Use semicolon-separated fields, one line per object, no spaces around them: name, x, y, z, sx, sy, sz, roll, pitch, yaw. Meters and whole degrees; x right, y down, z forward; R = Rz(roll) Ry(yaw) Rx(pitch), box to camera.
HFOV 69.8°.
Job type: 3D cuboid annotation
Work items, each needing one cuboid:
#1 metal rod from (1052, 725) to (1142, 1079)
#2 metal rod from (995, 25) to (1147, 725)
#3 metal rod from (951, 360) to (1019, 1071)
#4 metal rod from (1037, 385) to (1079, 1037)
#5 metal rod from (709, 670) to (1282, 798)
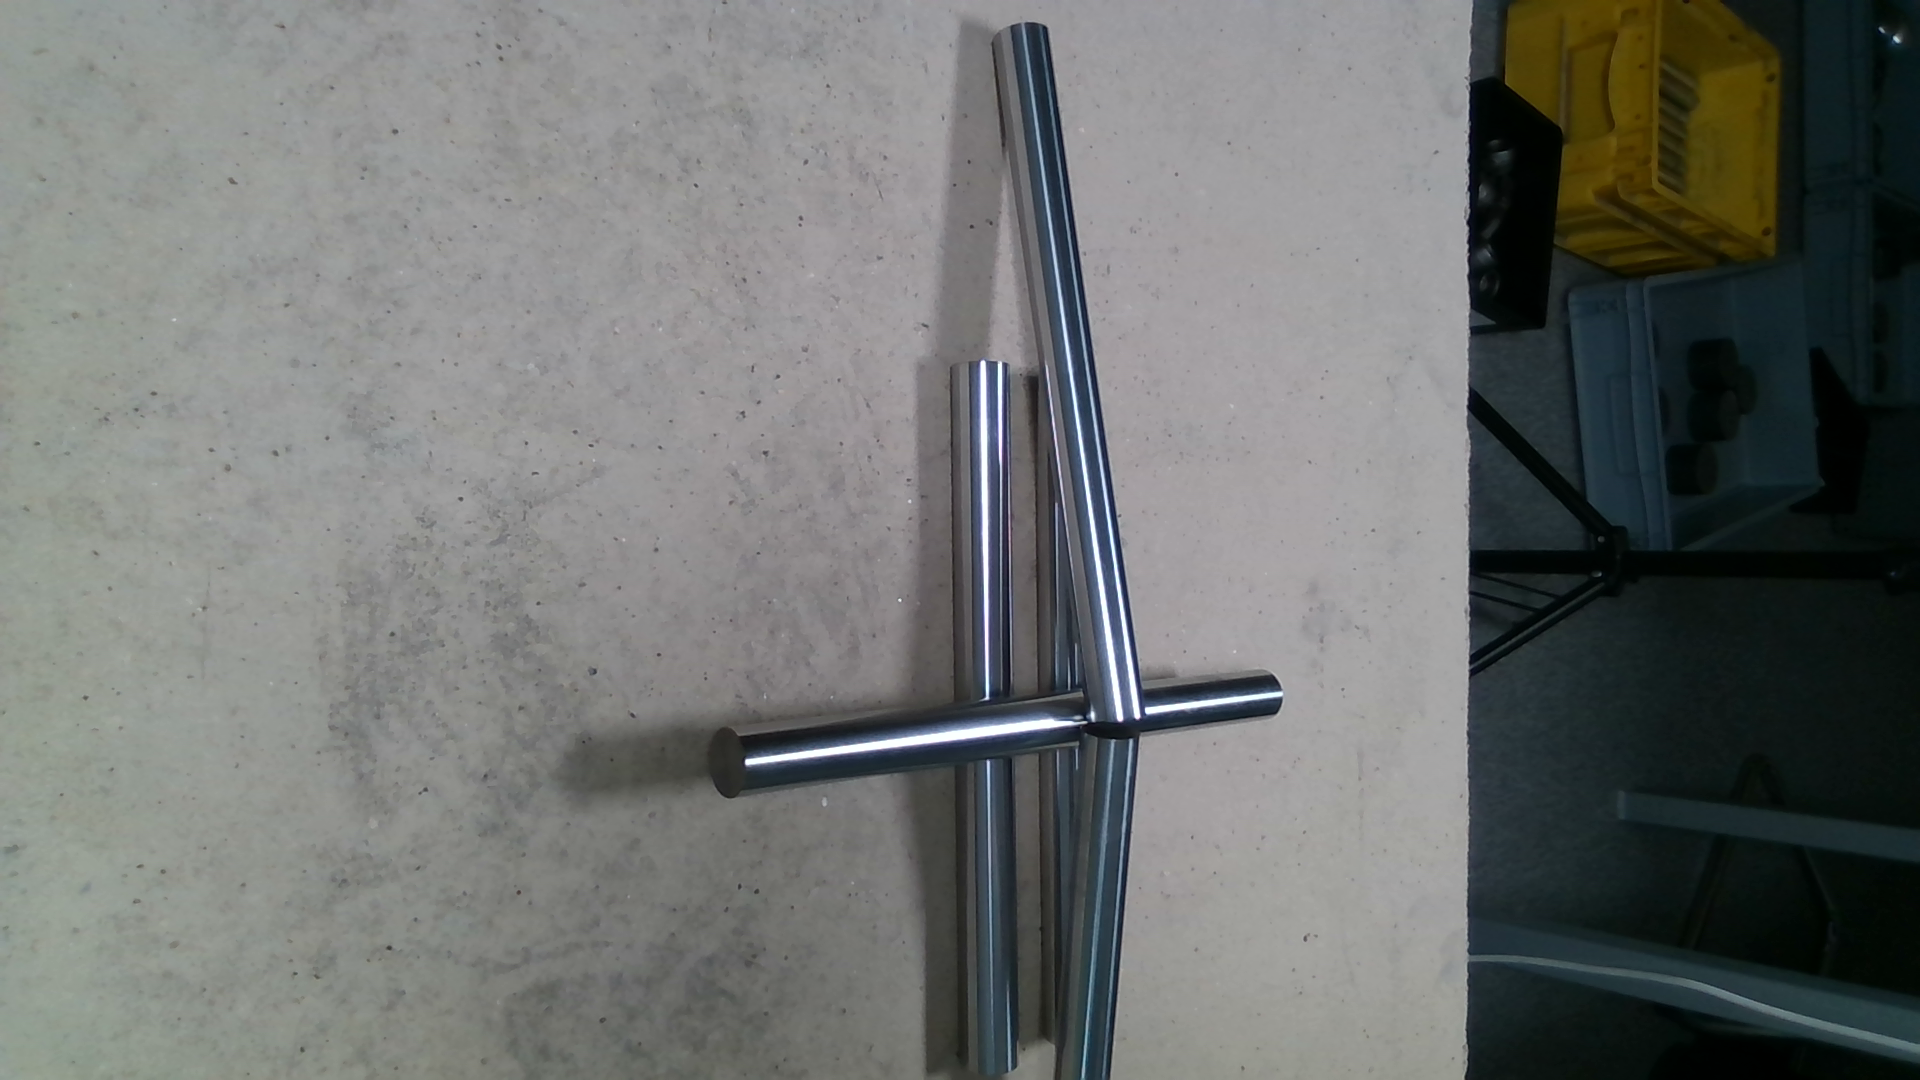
metal rod;0.053;0.226;0.596;0.025;0.025;0.300;-4;103;-40
metal rod;0.046;-0.072;0.589;0.025;0.025;0.300;-2;82;-40
metal rod;0.011;0.074;0.592;0.025;0.025;0.300;-1;91;-40
metal rod;0.049;0.074;0.624;0.025;0.025;0.300;-1;91;-40
metal rod;0.033;0.077;0.579;0.300;0.025;0.025;-1;90;-40
